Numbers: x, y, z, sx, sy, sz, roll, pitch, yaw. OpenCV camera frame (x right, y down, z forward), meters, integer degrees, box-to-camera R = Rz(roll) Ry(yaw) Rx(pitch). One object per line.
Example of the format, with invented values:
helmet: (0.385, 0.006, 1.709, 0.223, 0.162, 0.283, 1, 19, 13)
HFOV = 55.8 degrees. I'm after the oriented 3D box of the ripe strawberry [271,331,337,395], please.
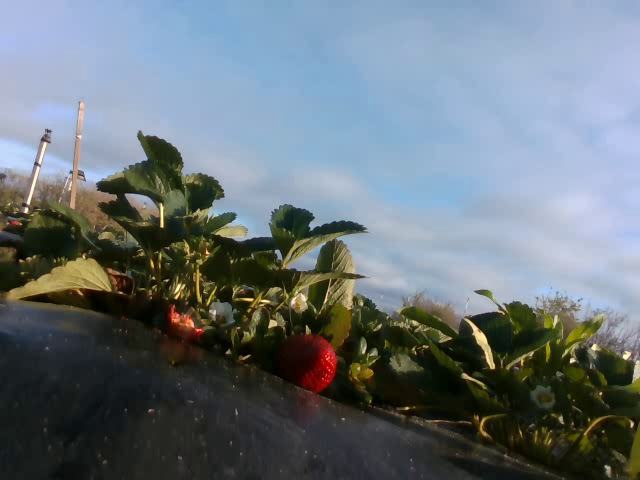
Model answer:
ripe strawberry: (-0.005, 0.075, 0.389, 0.052, 0.041, 0.052, 2, -22, -18)
